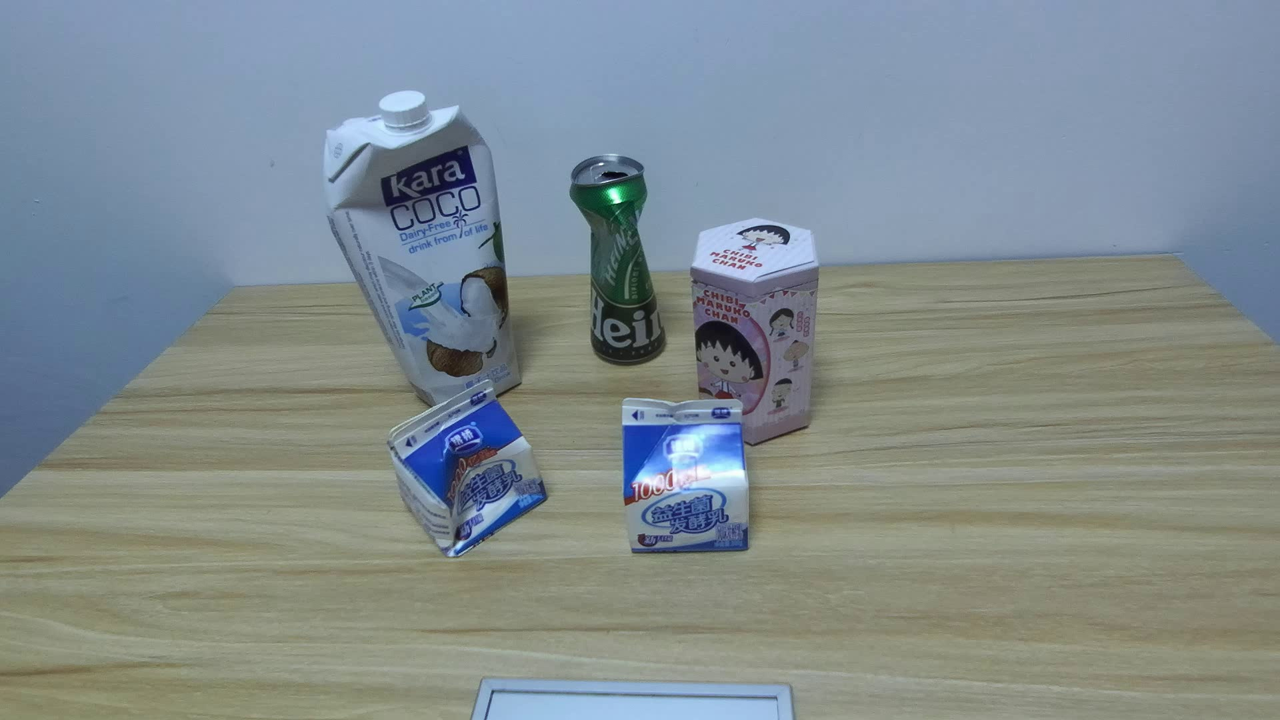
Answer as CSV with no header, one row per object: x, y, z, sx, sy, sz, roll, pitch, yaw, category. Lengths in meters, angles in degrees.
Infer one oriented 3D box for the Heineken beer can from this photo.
-0.016,-0.078,0.576,0.066,0.164,0.078,6,36,19,Heineken beer can

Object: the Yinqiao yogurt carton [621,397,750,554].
0.028,0.060,0.432,0.075,0.092,0.073,-2,34,4,Yinqiao yogurt carton

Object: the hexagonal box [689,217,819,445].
0.080,-0.018,0.496,0.091,0.136,0.084,21,43,32,hexagonal box

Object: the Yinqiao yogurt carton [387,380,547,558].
-0.116,0.061,0.454,0.077,0.094,0.070,-31,46,-30,Yinqiao yogurt carton

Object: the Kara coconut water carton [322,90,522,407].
-0.152,-0.072,0.520,0.115,0.239,0.069,-32,45,-32,Kara coconut water carton
